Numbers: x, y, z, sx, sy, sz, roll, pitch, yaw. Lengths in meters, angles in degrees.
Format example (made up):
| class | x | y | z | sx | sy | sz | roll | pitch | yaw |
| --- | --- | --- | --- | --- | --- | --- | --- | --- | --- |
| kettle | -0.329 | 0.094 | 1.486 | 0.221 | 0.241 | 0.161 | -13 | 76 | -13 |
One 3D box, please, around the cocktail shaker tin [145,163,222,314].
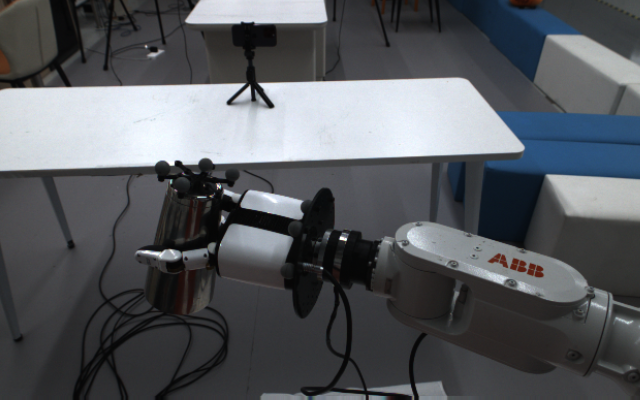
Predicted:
| class | x | y | z | sx | sy | sz | roll | pitch | yaw |
| --- | --- | --- | --- | --- | --- | --- | --- | --- | --- |
| cocktail shaker tin | -0.168 | 0.052 | 0.619 | 0.093 | 0.170 | 0.093 | 12 | 29 | -7 |
